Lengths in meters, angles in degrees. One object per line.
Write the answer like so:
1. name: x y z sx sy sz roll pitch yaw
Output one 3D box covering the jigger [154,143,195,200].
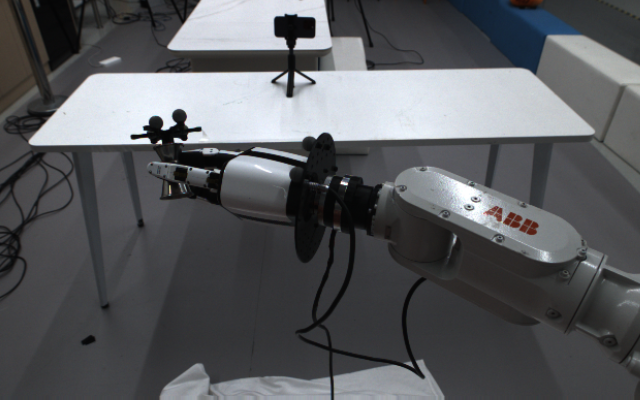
1. jigger: -0.190 -0.037 0.630 0.043 0.071 0.043 -11 -3 -1
